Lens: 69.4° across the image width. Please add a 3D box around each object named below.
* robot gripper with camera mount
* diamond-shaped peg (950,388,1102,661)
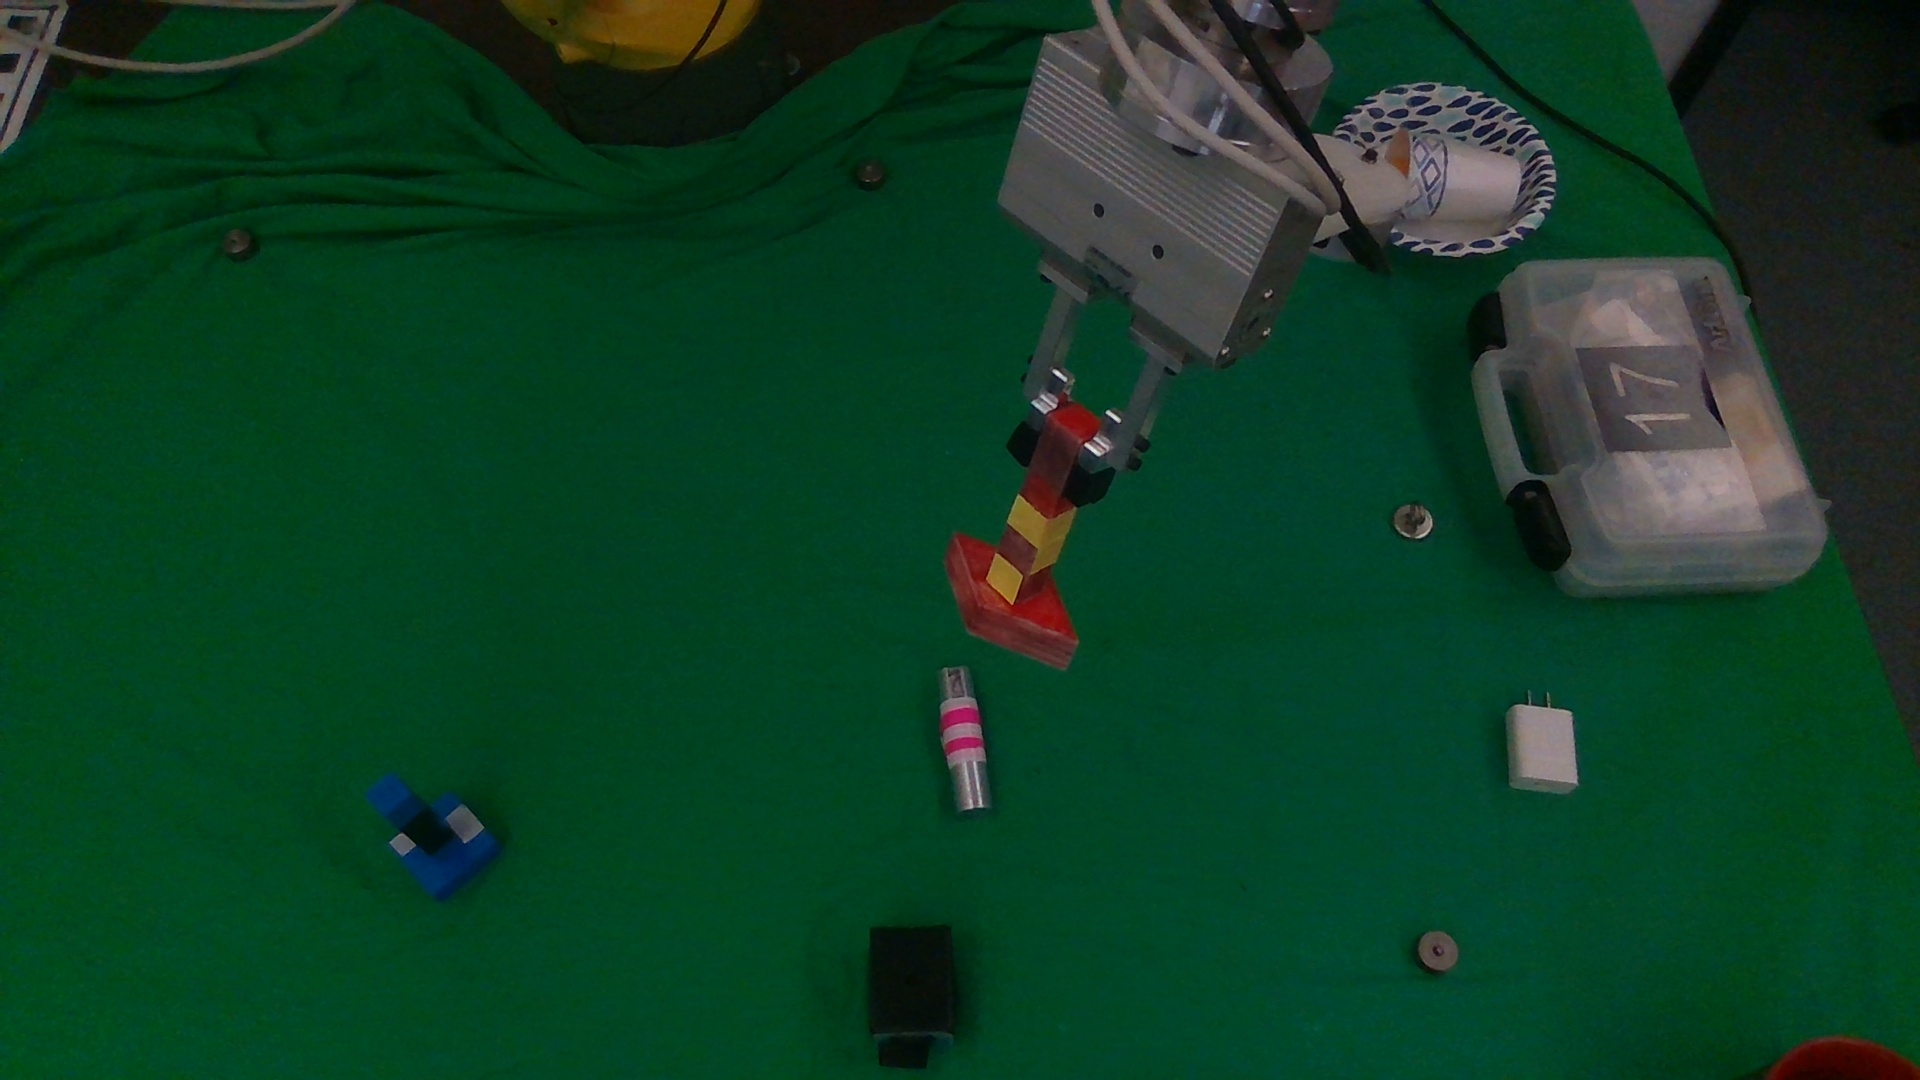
[{"bbox_3d":[0.106,-0.120,0.595,0.119,0.159,0.193,37,42,22],"label":"robot gripper with camera mount"},{"bbox_3d":[0.034,-0.012,0.612,0.074,0.122,0.045,21,43,6],"label":"diamond-shaped peg"}]
